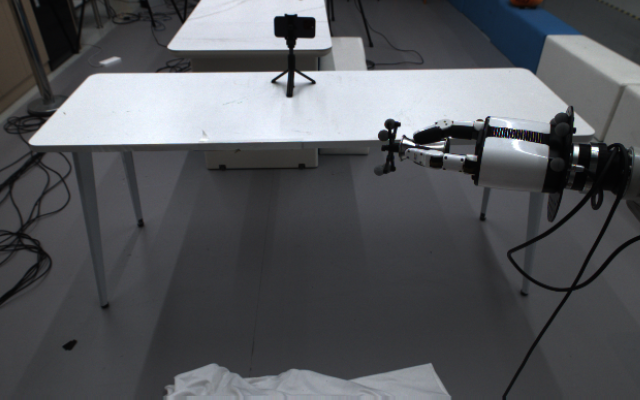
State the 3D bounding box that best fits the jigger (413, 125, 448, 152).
[{"bbox_3d":[0.161,-0.078,0.723,0.071,0.043,0.043,8,34,23],"label":"jigger"}]
